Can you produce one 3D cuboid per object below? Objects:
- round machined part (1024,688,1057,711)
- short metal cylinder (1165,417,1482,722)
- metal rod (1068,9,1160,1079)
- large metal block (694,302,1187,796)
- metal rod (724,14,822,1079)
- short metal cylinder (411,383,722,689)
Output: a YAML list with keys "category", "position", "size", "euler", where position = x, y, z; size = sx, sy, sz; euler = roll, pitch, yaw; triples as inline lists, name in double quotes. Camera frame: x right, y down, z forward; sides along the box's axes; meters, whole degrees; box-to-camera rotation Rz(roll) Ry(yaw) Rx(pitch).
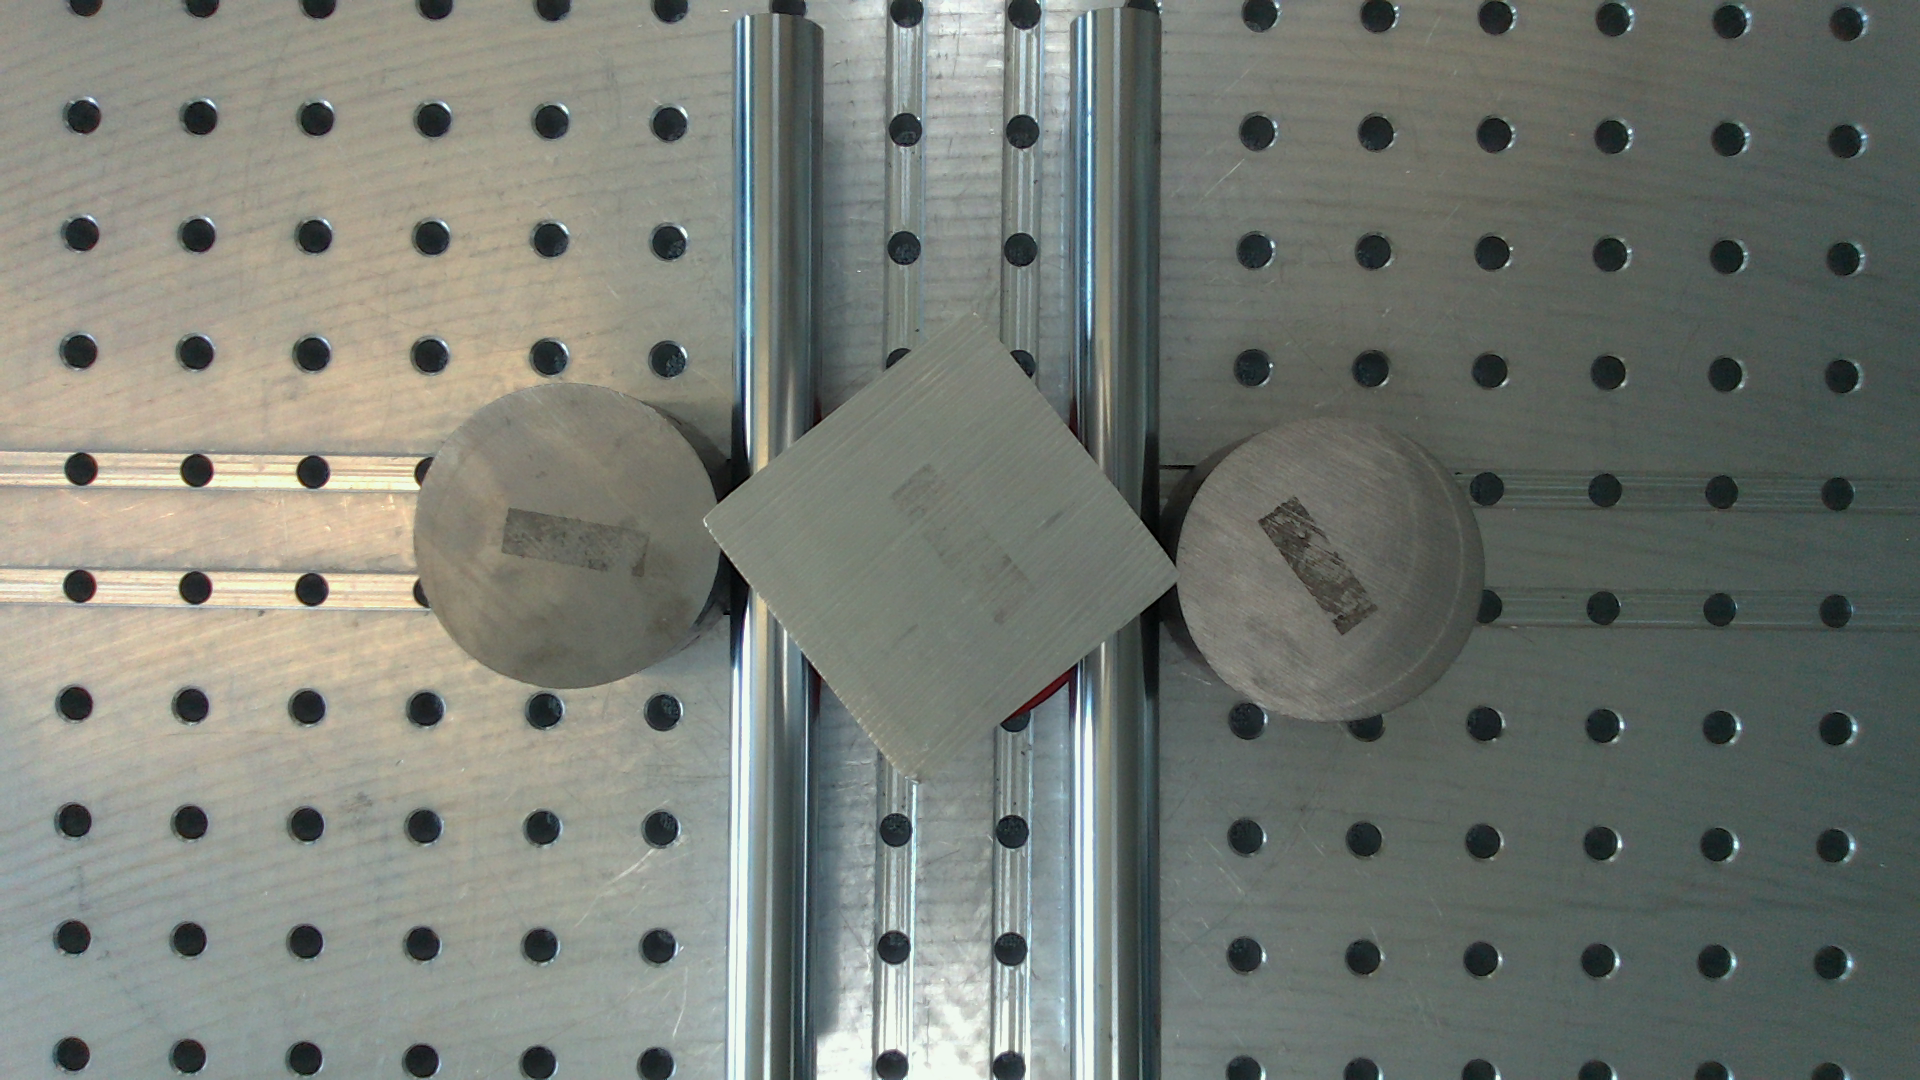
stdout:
- category: "round machined part"
  position: [-0.005, 0.006, 0.390]
  size: [0.098, 0.042, 0.098]
  euler: [0, 90, 0]
- category: "short metal cylinder"
  position: [0.097, 0.008, 0.385]
  size: [0.080, 0.050, 0.080]
  euler: [0, 90, 0]
- category: "metal rod"
  position: [0.042, 0.009, 0.377]
  size: [0.025, 0.025, 0.300]
  euler: [0, 90, 0]
- category: "large metal block"
  position: [-0.004, 0.002, 0.338]
  size: [0.080, 0.050, 0.080]
  euler: [-38, 90, 0]
- category: "metal rod"
  position: [-0.051, 0.011, 0.376]
  size: [0.025, 0.025, 0.300]
  euler: [0, 90, 0]
- category: "short metal cylinder"
  position: [-0.104, -0.001, 0.385]
  size: [0.080, 0.050, 0.080]
  euler: [0, 90, 0]
